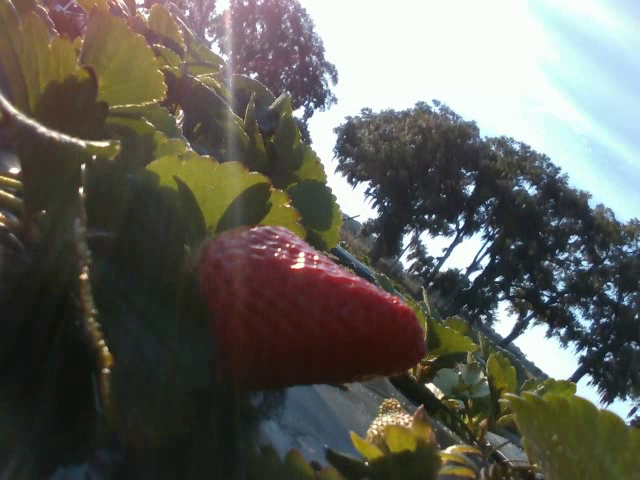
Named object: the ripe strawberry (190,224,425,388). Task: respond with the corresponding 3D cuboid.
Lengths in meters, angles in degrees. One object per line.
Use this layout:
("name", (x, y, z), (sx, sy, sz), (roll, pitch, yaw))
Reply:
("ripe strawberry", (-0.003, 0.018, 0.156), (0.072, 0.055, 0.057), (17, 41, 20))
